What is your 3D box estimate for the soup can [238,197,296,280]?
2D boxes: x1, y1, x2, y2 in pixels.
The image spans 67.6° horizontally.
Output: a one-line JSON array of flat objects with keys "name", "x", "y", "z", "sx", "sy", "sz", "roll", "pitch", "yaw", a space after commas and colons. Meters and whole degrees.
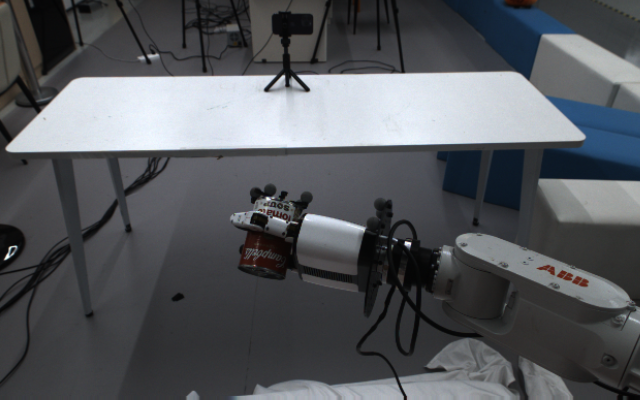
[{"name": "soup can", "x": -0.069, "y": 0.054, "z": 0.674, "sx": 0.067, "sy": 0.067, "sz": 0.101, "roll": 9, "pitch": 71, "yaw": 9}]
